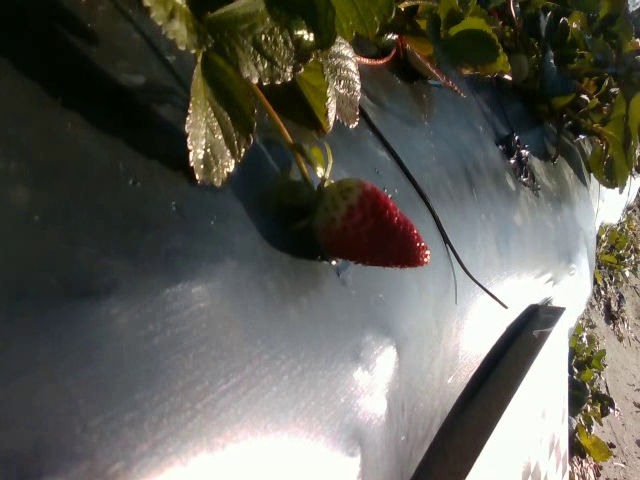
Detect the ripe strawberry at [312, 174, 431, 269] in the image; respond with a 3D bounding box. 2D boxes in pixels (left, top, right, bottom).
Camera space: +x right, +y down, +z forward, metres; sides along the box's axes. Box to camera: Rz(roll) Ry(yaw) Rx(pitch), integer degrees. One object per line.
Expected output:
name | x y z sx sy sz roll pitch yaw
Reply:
ripe strawberry | 0.016 -0.002 0.178 0.041 0.028 0.031 28 -40 9
